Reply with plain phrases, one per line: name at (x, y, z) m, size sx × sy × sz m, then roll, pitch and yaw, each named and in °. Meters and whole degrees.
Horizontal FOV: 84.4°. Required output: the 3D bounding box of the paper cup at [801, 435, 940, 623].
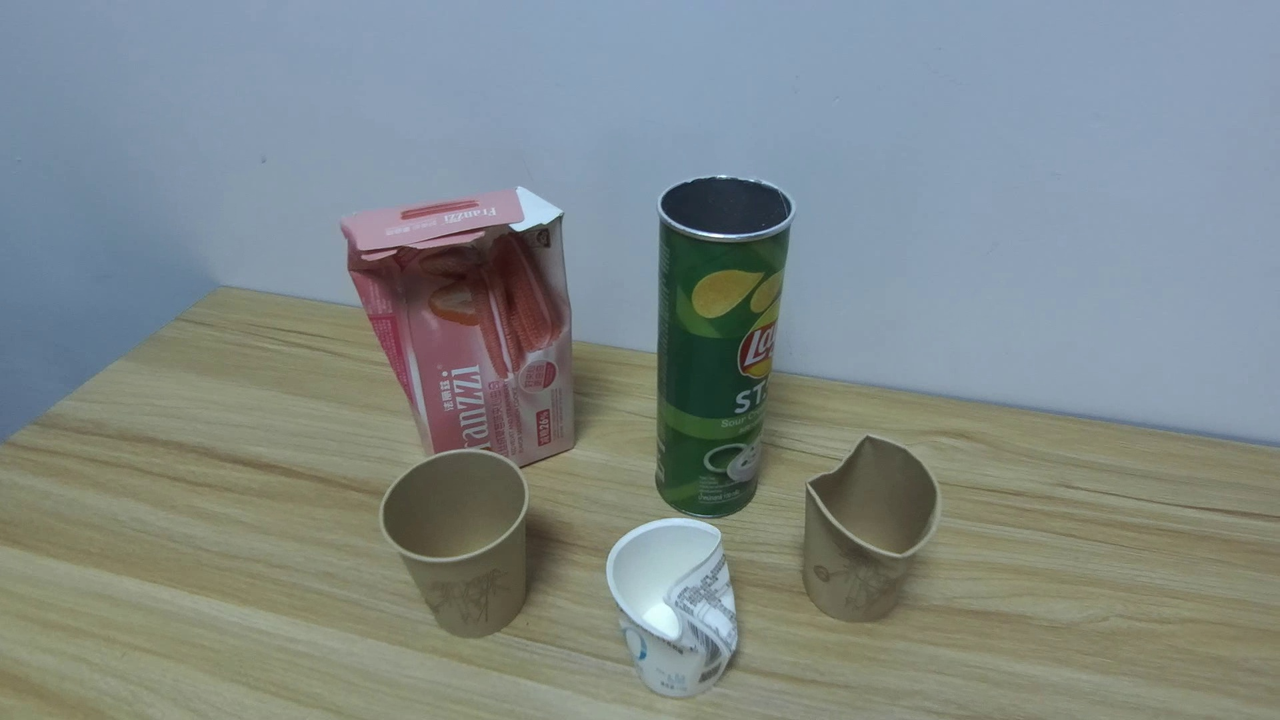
paper cup at (0.126, 0.099, 0.386) m, size 0.072 × 0.084 × 0.066 m, roll -29°, pitch 46°, yaw -30°

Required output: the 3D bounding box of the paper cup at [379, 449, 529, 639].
paper cup at (-0.094, 0.105, 0.385) m, size 0.075 × 0.082 × 0.075 m, roll 0°, pitch 38°, yaw 1°

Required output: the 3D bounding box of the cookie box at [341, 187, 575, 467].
cookie box at (-0.102, -0.007, 0.443) m, size 0.119 × 0.184 × 0.055 m, roll -15°, pitch 40°, yaw -16°

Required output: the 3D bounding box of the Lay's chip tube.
Lay's chip tube at (0.045, -0.001, 0.412) m, size 0.071 × 0.203 × 0.071 m, roll 0°, pitch 40°, yaw 1°

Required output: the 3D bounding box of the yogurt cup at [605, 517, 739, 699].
yogurt cup at (0.018, 0.129, 0.362) m, size 0.067 × 0.070 × 0.067 m, roll -2°, pitch 40°, yaw 2°
